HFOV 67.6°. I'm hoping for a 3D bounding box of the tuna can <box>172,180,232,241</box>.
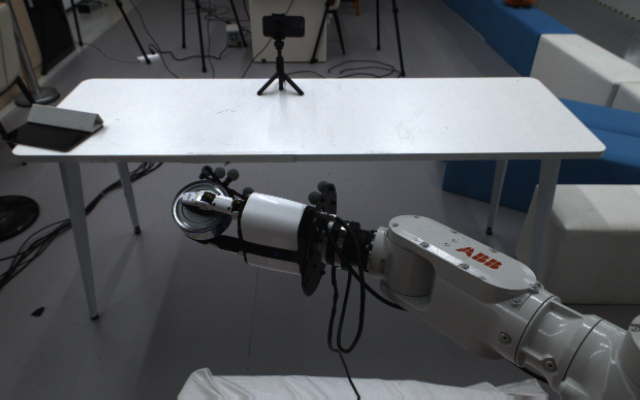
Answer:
[{"bbox_3d":[-0.173,0.016,0.716,0.085,0.034,0.085,-1,59,2],"label":"tuna can"}]
